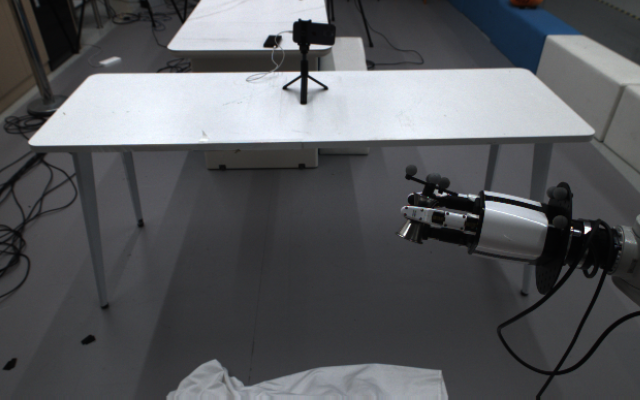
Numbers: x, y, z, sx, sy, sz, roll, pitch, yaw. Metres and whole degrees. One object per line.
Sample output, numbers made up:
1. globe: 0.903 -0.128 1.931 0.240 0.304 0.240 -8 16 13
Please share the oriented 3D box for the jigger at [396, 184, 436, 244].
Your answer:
1. jigger: 0.142 0.024 0.713 0.043 0.071 0.043 22 5 -2
